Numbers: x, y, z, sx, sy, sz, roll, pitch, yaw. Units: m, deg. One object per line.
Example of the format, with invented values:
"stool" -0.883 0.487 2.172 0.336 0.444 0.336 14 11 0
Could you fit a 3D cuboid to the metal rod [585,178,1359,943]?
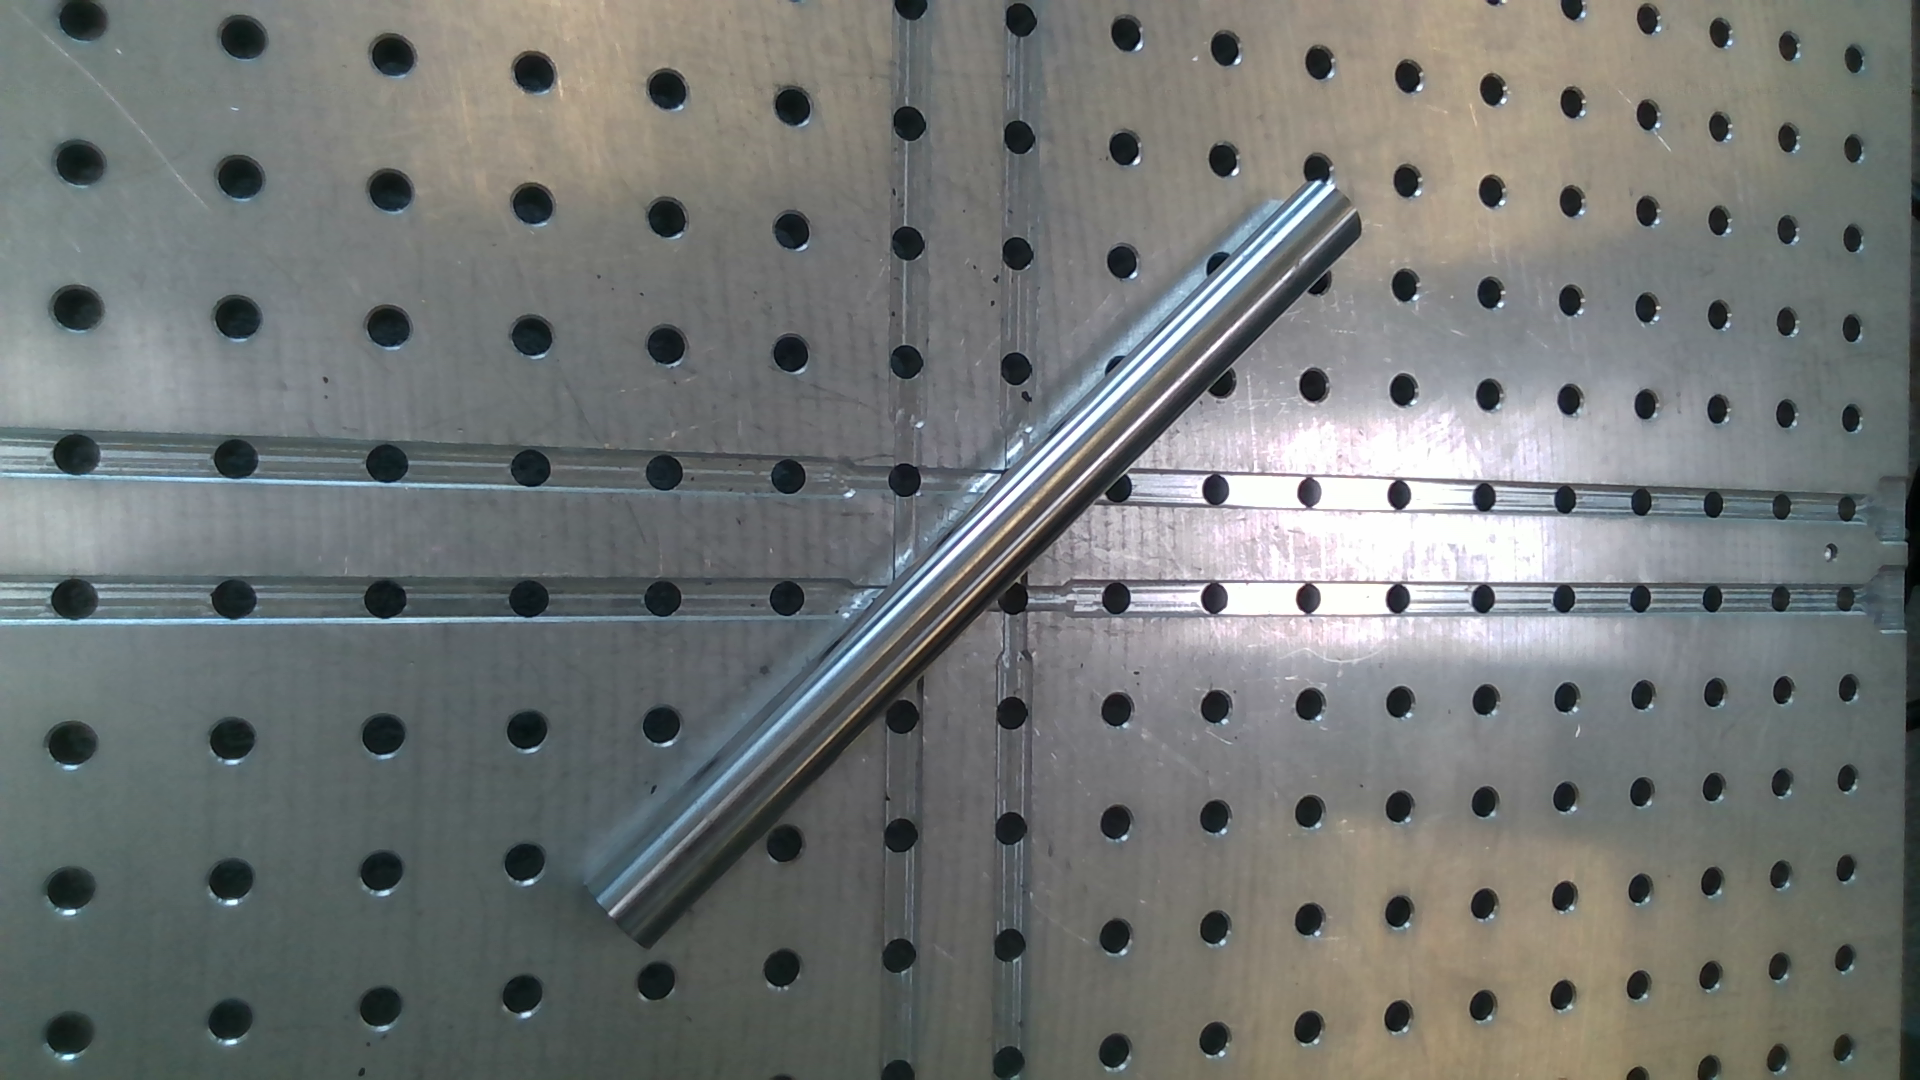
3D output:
"metal rod" 0.013 -0.004 0.402 0.300 0.025 0.025 -44 104 -15
